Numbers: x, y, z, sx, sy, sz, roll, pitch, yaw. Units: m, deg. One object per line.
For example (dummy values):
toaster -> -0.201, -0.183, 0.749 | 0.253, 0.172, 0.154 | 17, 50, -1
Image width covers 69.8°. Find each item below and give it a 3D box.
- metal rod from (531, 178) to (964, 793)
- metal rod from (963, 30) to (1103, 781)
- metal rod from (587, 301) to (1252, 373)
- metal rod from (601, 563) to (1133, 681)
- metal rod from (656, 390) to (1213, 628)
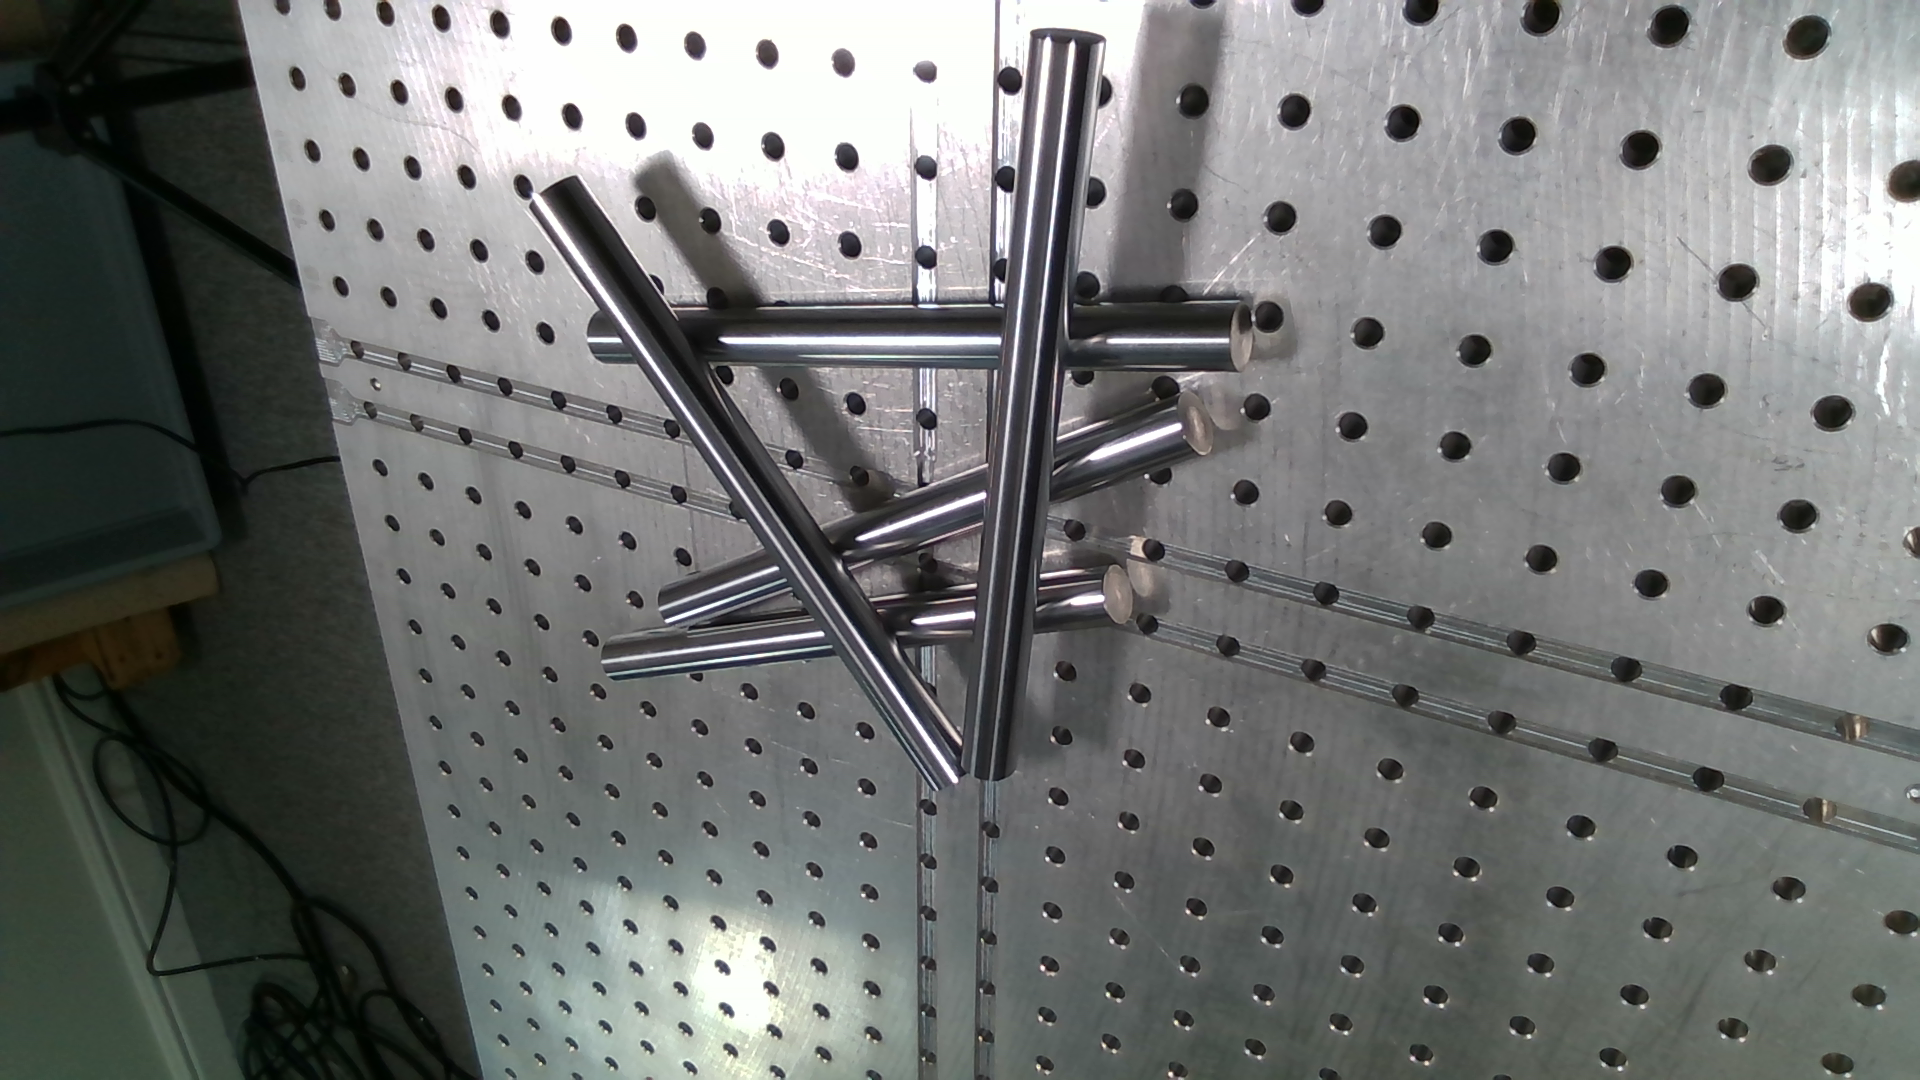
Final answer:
metal rod -> -0.086, -0.020, 0.592 | 0.025, 0.025, 0.300 | -28, 99, 39
metal rod -> 0.023, -0.032, 0.519 | 0.025, 0.025, 0.301 | 19, 124, 22
metal rod -> -0.032, -0.082, 0.557 | 0.300, 0.025, 0.025 | 5, 117, 29
metal rod -> -0.058, 0.042, 0.641 | 0.300, 0.025, 0.025 | -9, 110, 35
metal rod -> -0.027, -0.006, 0.596 | 0.300, 0.025, 0.025 | -18, 105, 37
